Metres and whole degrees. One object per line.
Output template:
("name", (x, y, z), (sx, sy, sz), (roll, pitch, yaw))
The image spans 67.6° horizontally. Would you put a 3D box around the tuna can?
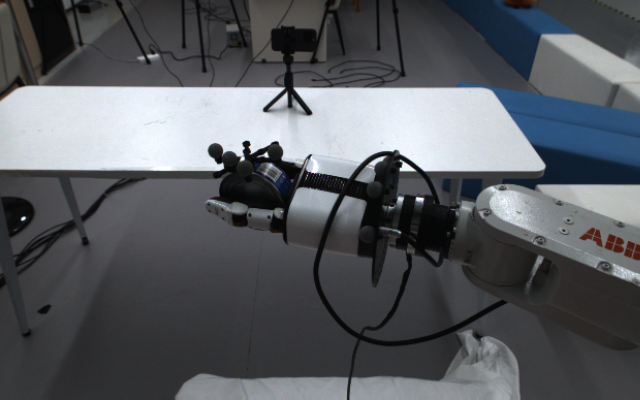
("tuna can", (-0.073, -0.008, 0.581), (0.085, 0.085, 0.034), (14, 40, 16))
